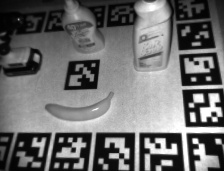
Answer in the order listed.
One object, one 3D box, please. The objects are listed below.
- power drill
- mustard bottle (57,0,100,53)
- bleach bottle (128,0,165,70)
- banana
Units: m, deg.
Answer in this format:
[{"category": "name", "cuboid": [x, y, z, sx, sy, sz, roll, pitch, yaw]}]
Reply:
[{"category": "power drill", "cuboid": [-0.295, -0.133, 0.599, 0.183, 0.189, 0.057, -8, 65, 13]}, {"category": "mustard bottle", "cuboid": [-0.101, -0.166, 0.610, 0.096, 0.193, 0.058, -8, 65, 7]}, {"category": "bleach bottle", "cuboid": [0.075, -0.124, 0.520, 0.102, 0.253, 0.068, 6, 68, 15]}, {"category": "banana", "cuboid": [-0.106, 0.056, 0.585, 0.196, 0.039, 0.074, -7, 67, 12]}]
